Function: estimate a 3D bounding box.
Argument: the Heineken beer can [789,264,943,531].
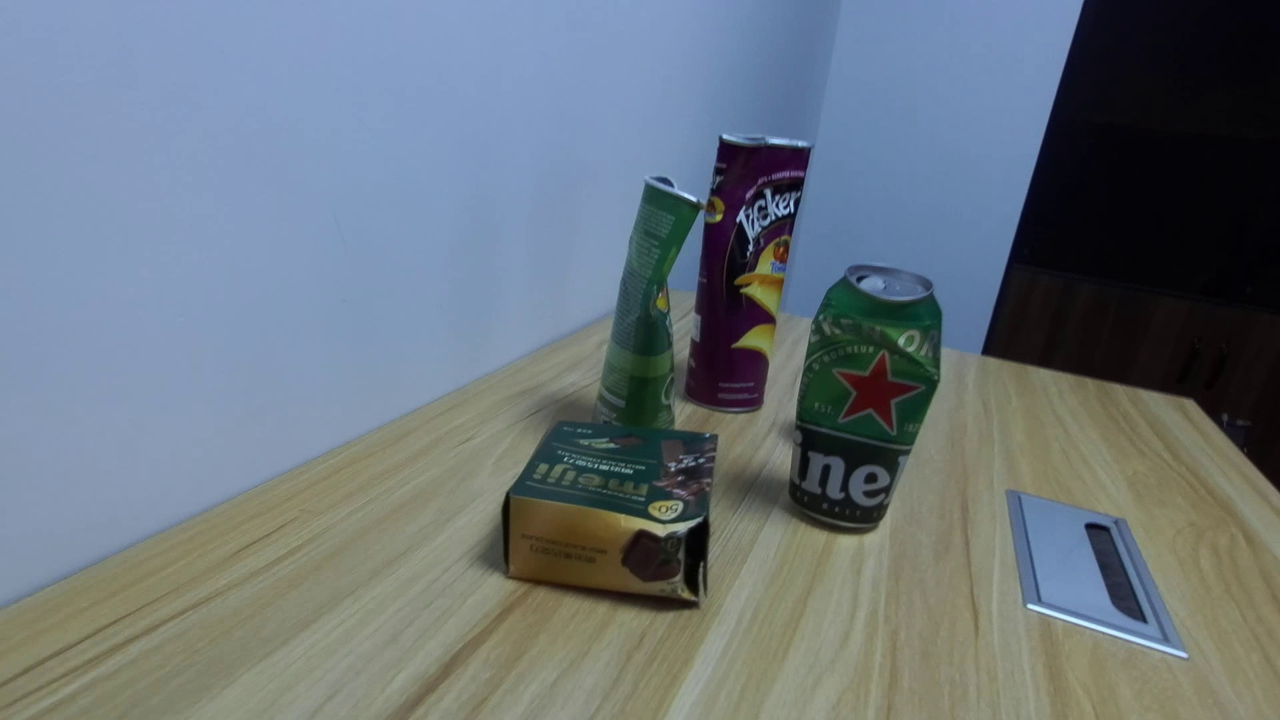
[{"bbox_3d":[0.145,0.027,0.462,0.069,0.168,0.068,-6,26,-28],"label":"Heineken beer can"}]

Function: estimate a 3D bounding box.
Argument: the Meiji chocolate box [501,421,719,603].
[{"bbox_3d":[-0.014,0.084,0.422,0.115,0.058,0.122,6,18,7],"label":"Meiji chocolate box"}]

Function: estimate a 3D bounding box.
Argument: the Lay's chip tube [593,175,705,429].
[{"bbox_3d":[0.006,-0.032,0.524,0.069,0.201,0.077,-11,30,-40],"label":"Lay's chip tube"}]

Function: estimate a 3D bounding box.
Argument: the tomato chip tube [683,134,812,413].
[{"bbox_3d":[0.092,-0.074,0.626,0.090,0.235,0.078,9,20,0],"label":"tomato chip tube"}]
